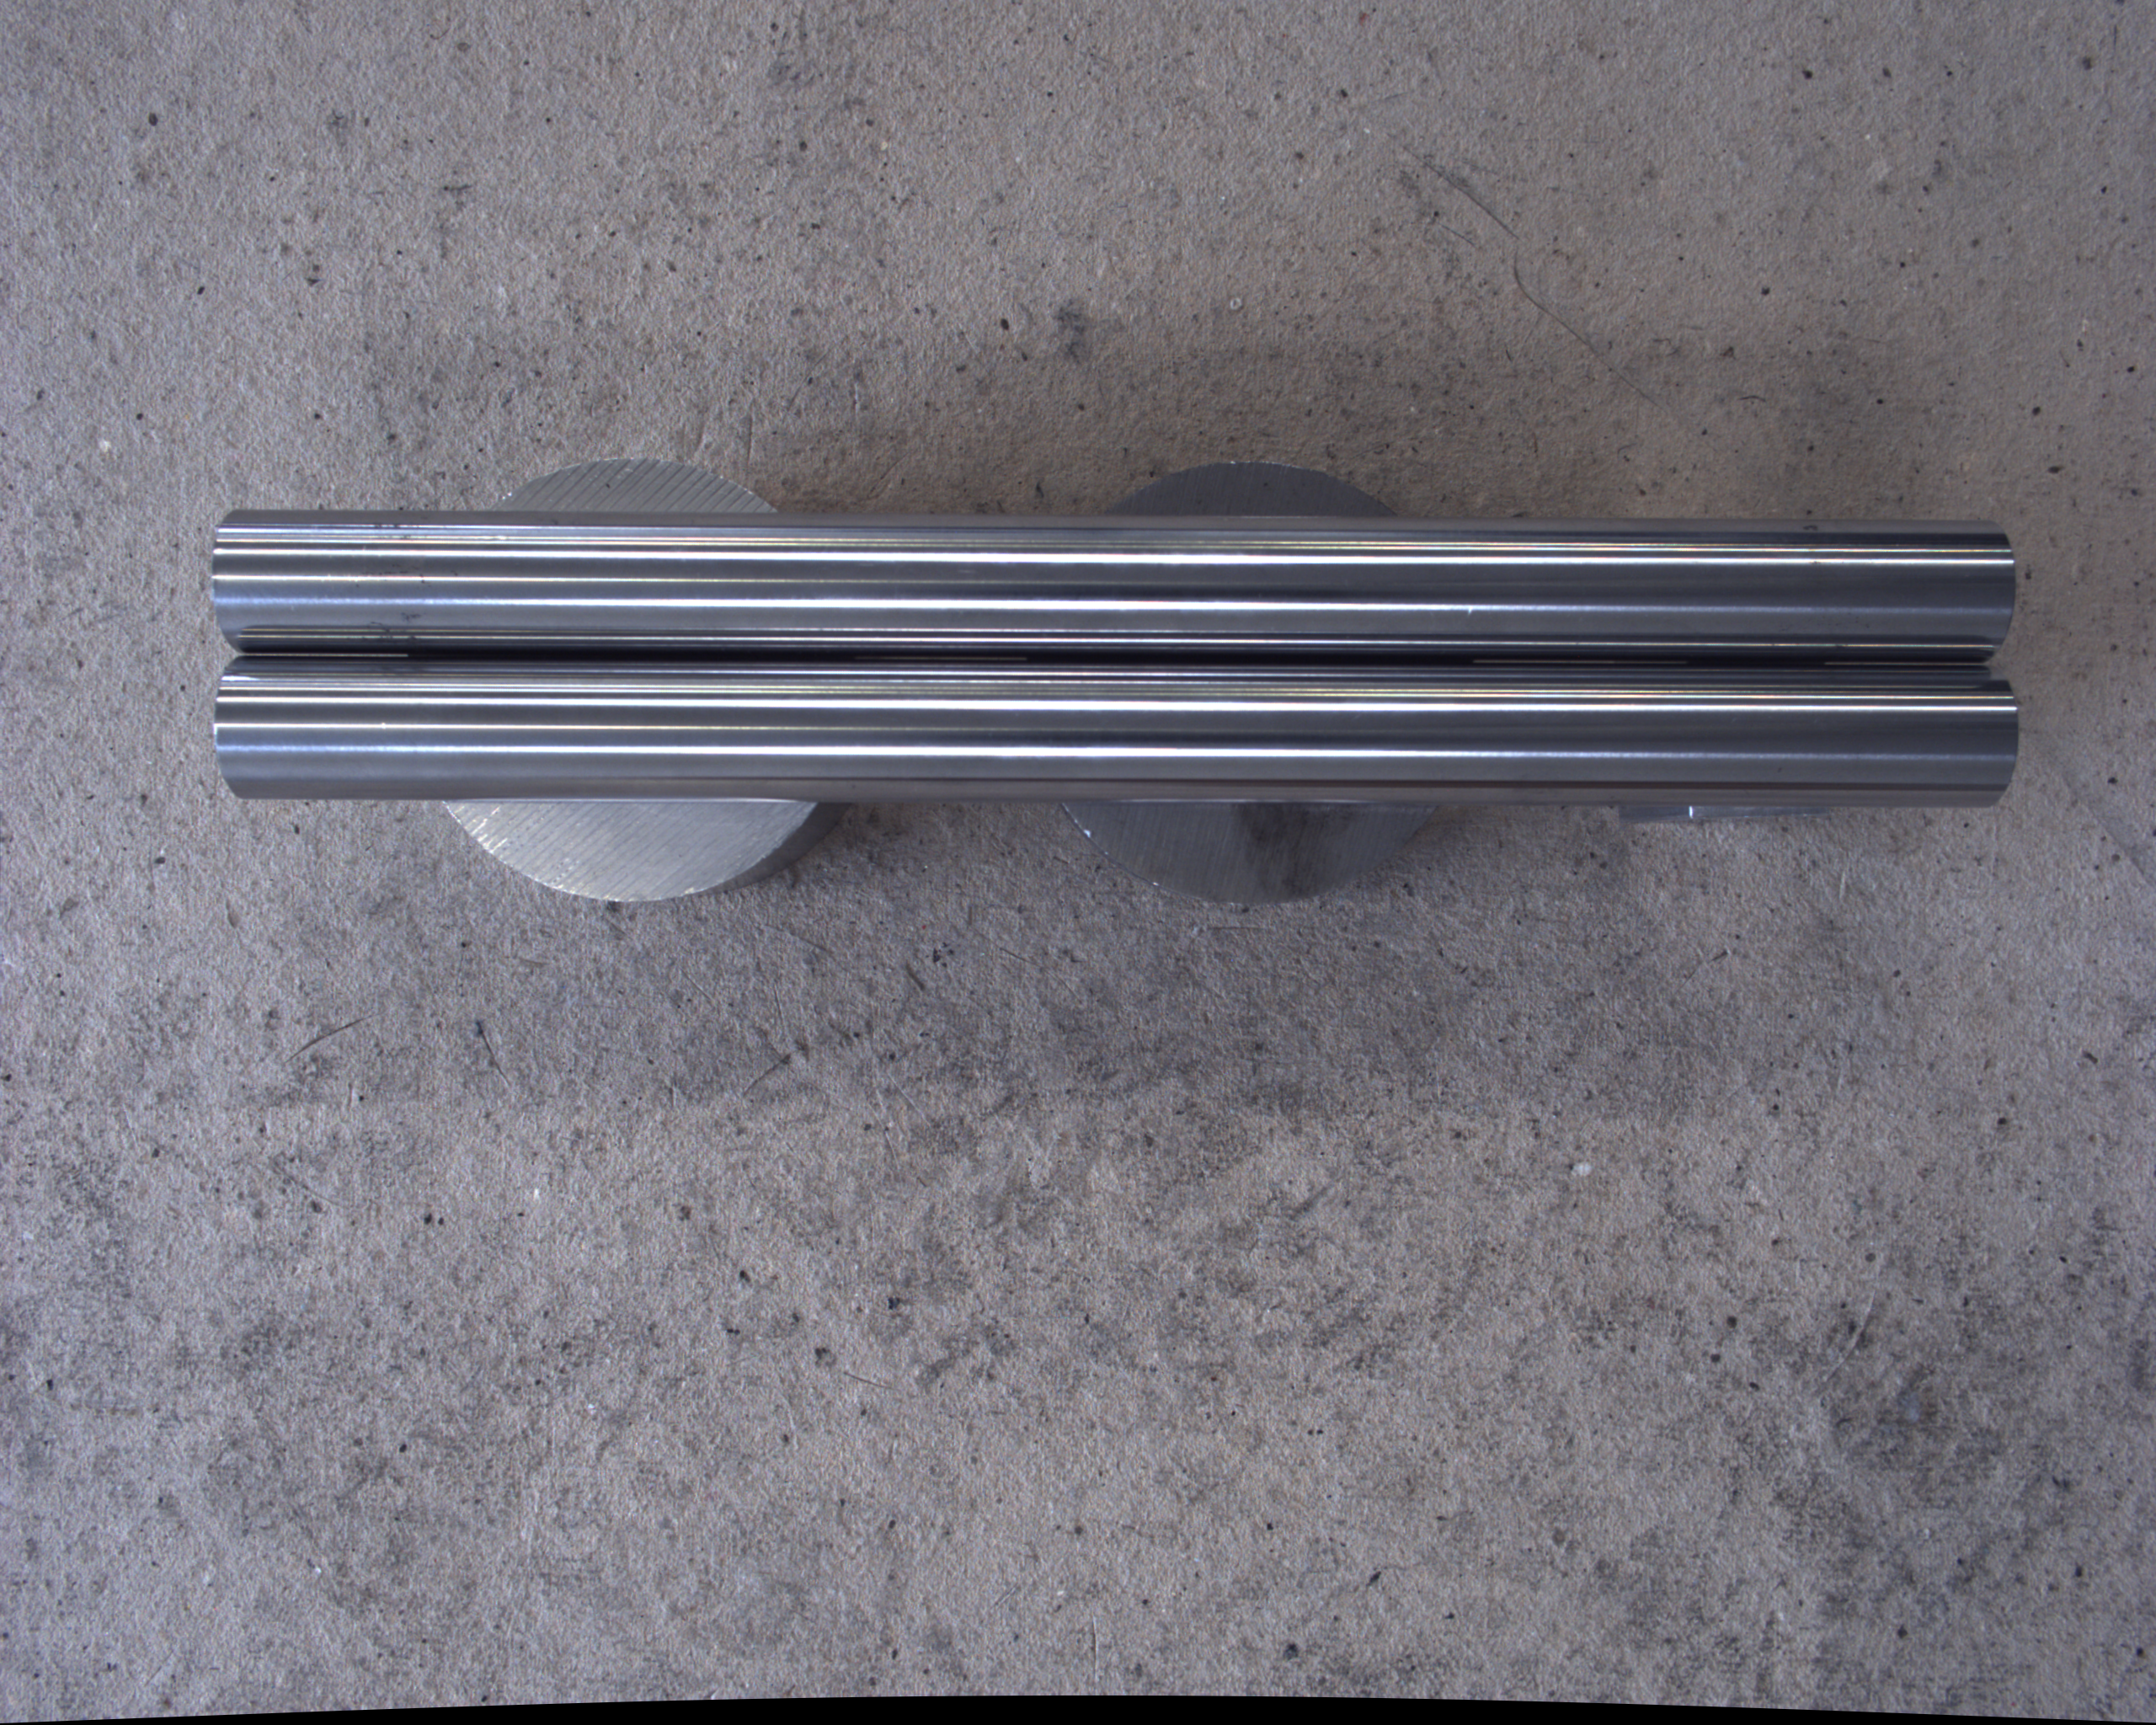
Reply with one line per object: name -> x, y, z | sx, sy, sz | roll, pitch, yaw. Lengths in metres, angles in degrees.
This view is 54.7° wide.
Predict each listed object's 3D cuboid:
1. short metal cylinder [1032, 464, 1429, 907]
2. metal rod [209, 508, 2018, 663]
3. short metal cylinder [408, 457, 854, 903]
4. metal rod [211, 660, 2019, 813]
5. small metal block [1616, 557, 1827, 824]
short metal cylinder -> 0.031, -0.032, 0.399 | 0.081, 0.050, 0.080 | 0, 90, 0
metal rod -> 0.006, -0.048, 0.360 | 0.302, 0.025, 0.025 | 0, 90, -1
short metal cylinder -> -0.080, -0.033, 0.397 | 0.081, 0.050, 0.080 | 0, 90, 0
metal rod -> 0.007, -0.022, 0.360 | 0.302, 0.025, 0.025 | 0, 90, -1
small metal block -> 0.122, -0.033, 0.401 | 0.025, 0.050, 0.050 | -2, 90, 0
